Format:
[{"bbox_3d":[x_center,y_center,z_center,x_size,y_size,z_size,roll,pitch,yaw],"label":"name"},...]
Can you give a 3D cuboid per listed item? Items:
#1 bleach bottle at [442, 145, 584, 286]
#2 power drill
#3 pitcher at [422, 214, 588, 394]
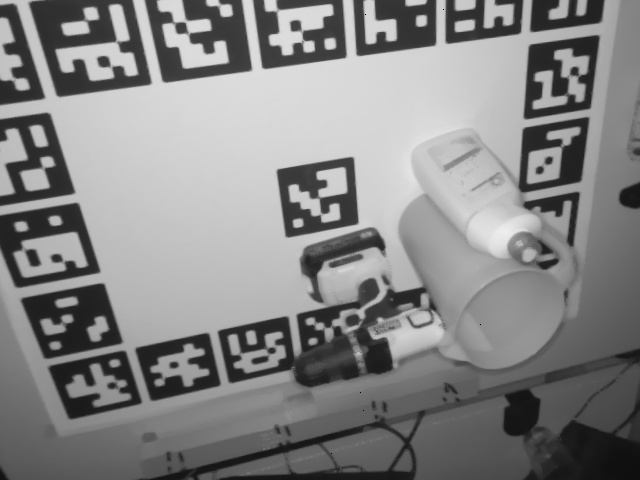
[{"bbox_3d":[0.223,-0.027,0.770,0.103,0.251,0.067,-17,119,-4],"label":"bleach bottle"},{"bbox_3d":[0.054,0.096,0.825,0.185,0.188,0.057,-12,116,0],"label":"power drill"},{"bbox_3d":[0.218,0.054,0.834,0.188,0.243,0.133,-34,118,5],"label":"pitcher"}]
